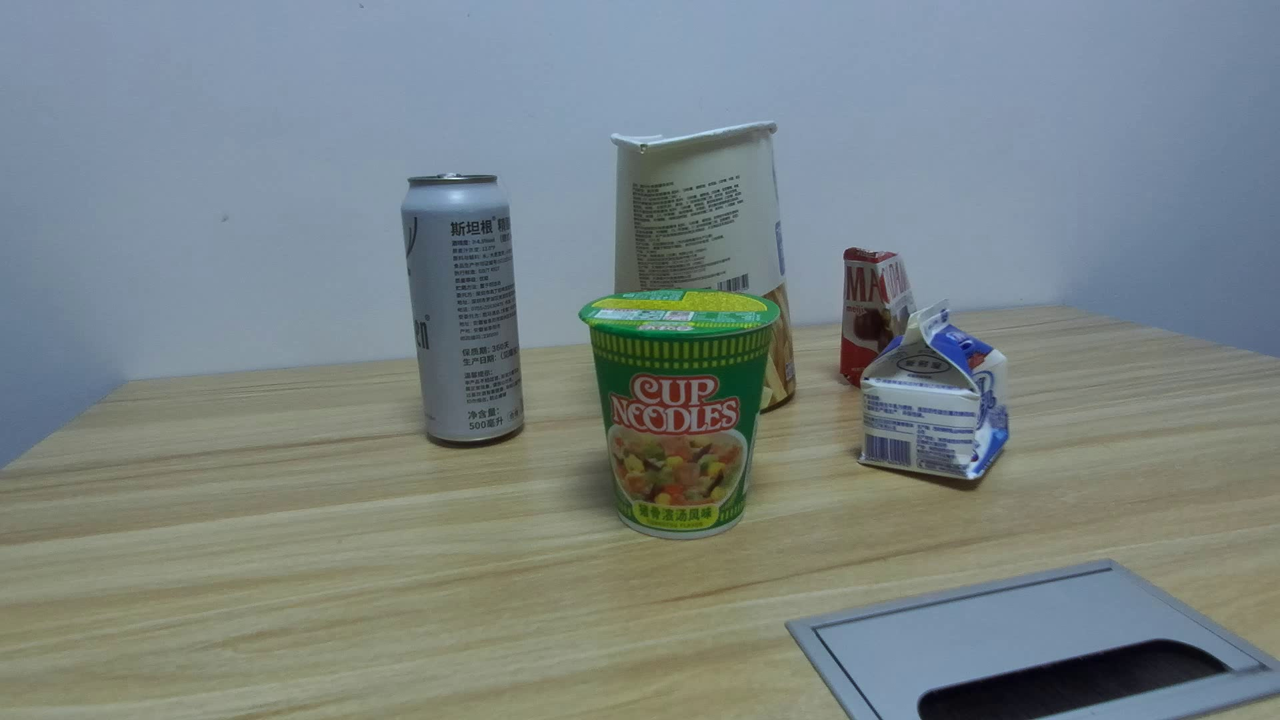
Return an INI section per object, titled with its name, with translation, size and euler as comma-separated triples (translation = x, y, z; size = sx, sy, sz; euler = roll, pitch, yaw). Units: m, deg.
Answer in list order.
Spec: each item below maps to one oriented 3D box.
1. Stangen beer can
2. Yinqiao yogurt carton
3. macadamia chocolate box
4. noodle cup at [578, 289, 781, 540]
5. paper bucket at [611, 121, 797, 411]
[Stangen beer can]
translation = -0.114, -0.032, 0.462
size = 0.067, 0.171, 0.067
euler = -2, 15, 1
[Yinqiao yogurt carton]
translation = 0.173, 0.014, 0.420
size = 0.070, 0.094, 0.078
euler = 4, 15, 39
[macadamia chocolate box]
translation = 0.195, -0.037, 0.556
size = 0.056, 0.112, 0.127
euler = 6, 17, 31
[noodle cup]
translation = 0.022, 0.026, 0.359
size = 0.097, 0.110, 0.097
euler = -2, 16, 1
[paper bucket]
translation = 0.046, -0.070, 0.529
size = 0.148, 0.199, 0.217
euler = -4, 16, -9
